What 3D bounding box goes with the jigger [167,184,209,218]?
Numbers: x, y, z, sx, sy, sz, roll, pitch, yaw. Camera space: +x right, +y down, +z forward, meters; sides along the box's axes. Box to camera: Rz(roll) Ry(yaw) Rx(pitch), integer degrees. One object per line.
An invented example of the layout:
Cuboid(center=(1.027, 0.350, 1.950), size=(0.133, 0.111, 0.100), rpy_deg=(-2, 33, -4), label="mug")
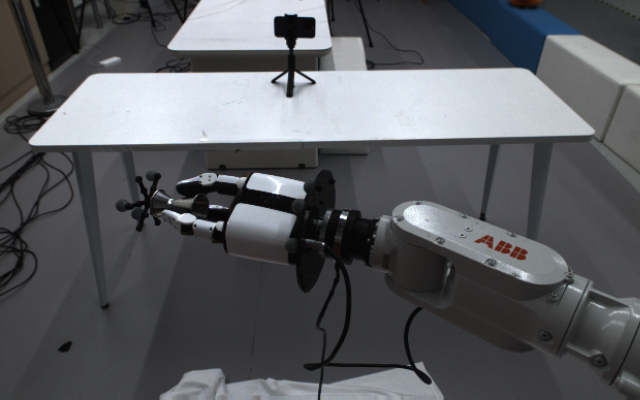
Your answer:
Cuboid(center=(-0.187, 0.003, 0.673), size=(0.071, 0.043, 0.043), rpy_deg=(6, 34, 18), label="jigger")
